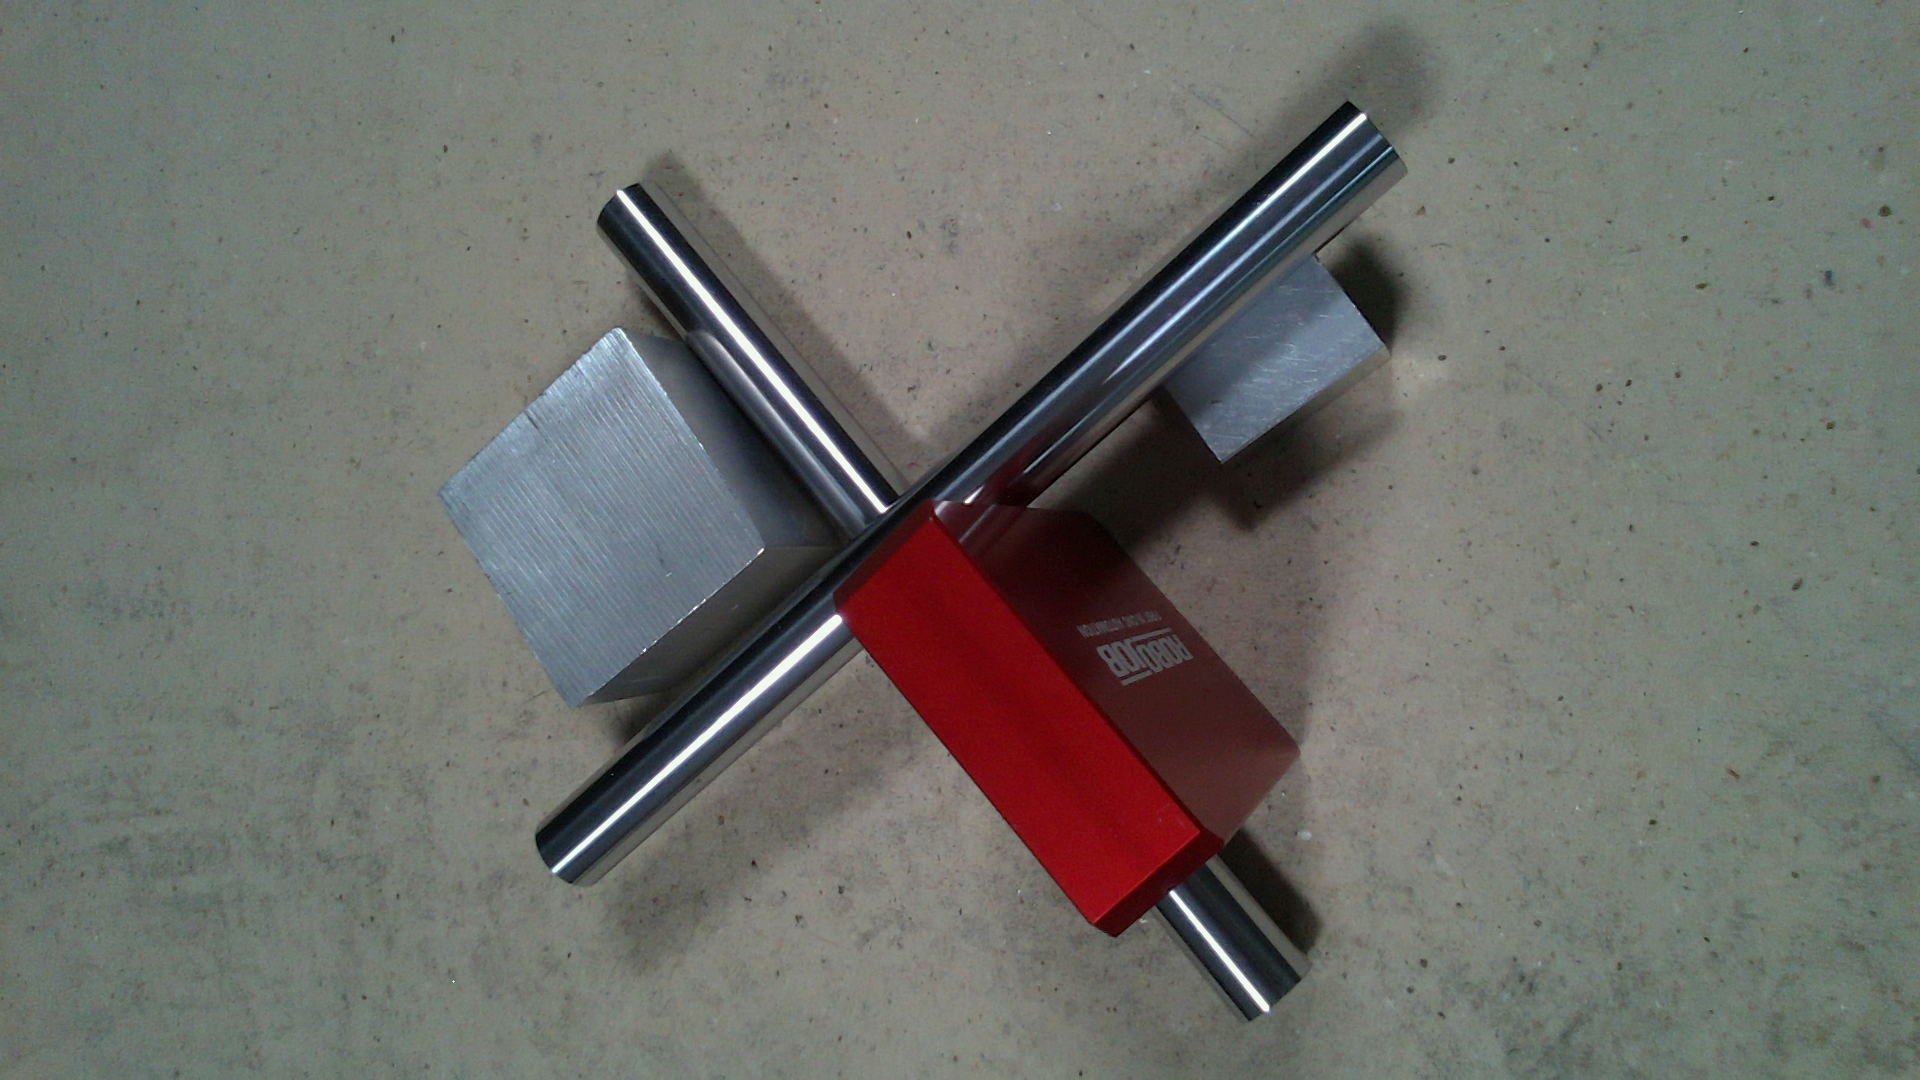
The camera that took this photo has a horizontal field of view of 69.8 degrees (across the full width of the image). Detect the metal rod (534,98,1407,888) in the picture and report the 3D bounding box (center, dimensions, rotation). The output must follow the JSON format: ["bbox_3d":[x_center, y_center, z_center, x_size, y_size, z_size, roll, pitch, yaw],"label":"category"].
[{"bbox_3d":[-0.009,-0.002,0.372,0.299,0.025,0.025,-41,77,15],"label":"metal rod"}]

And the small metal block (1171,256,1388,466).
[{"bbox_3d":[0.078,-0.055,0.368,0.050,0.025,0.050,-37,78,16],"label":"small metal block"}]

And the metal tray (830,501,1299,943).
[{"bbox_3d":[0.033,0.035,0.328,0.030,0.130,0.090,-44,76,15],"label":"metal tray"}]

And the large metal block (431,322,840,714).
[{"bbox_3d":[-0.097,-0.006,0.417,0.080,0.050,0.080,-39,78,16],"label":"large metal block"}]

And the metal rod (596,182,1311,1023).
[{"bbox_3d":[-0.010,0.009,0.400,0.025,0.025,0.300,-44,77,15],"label":"metal rod"}]
